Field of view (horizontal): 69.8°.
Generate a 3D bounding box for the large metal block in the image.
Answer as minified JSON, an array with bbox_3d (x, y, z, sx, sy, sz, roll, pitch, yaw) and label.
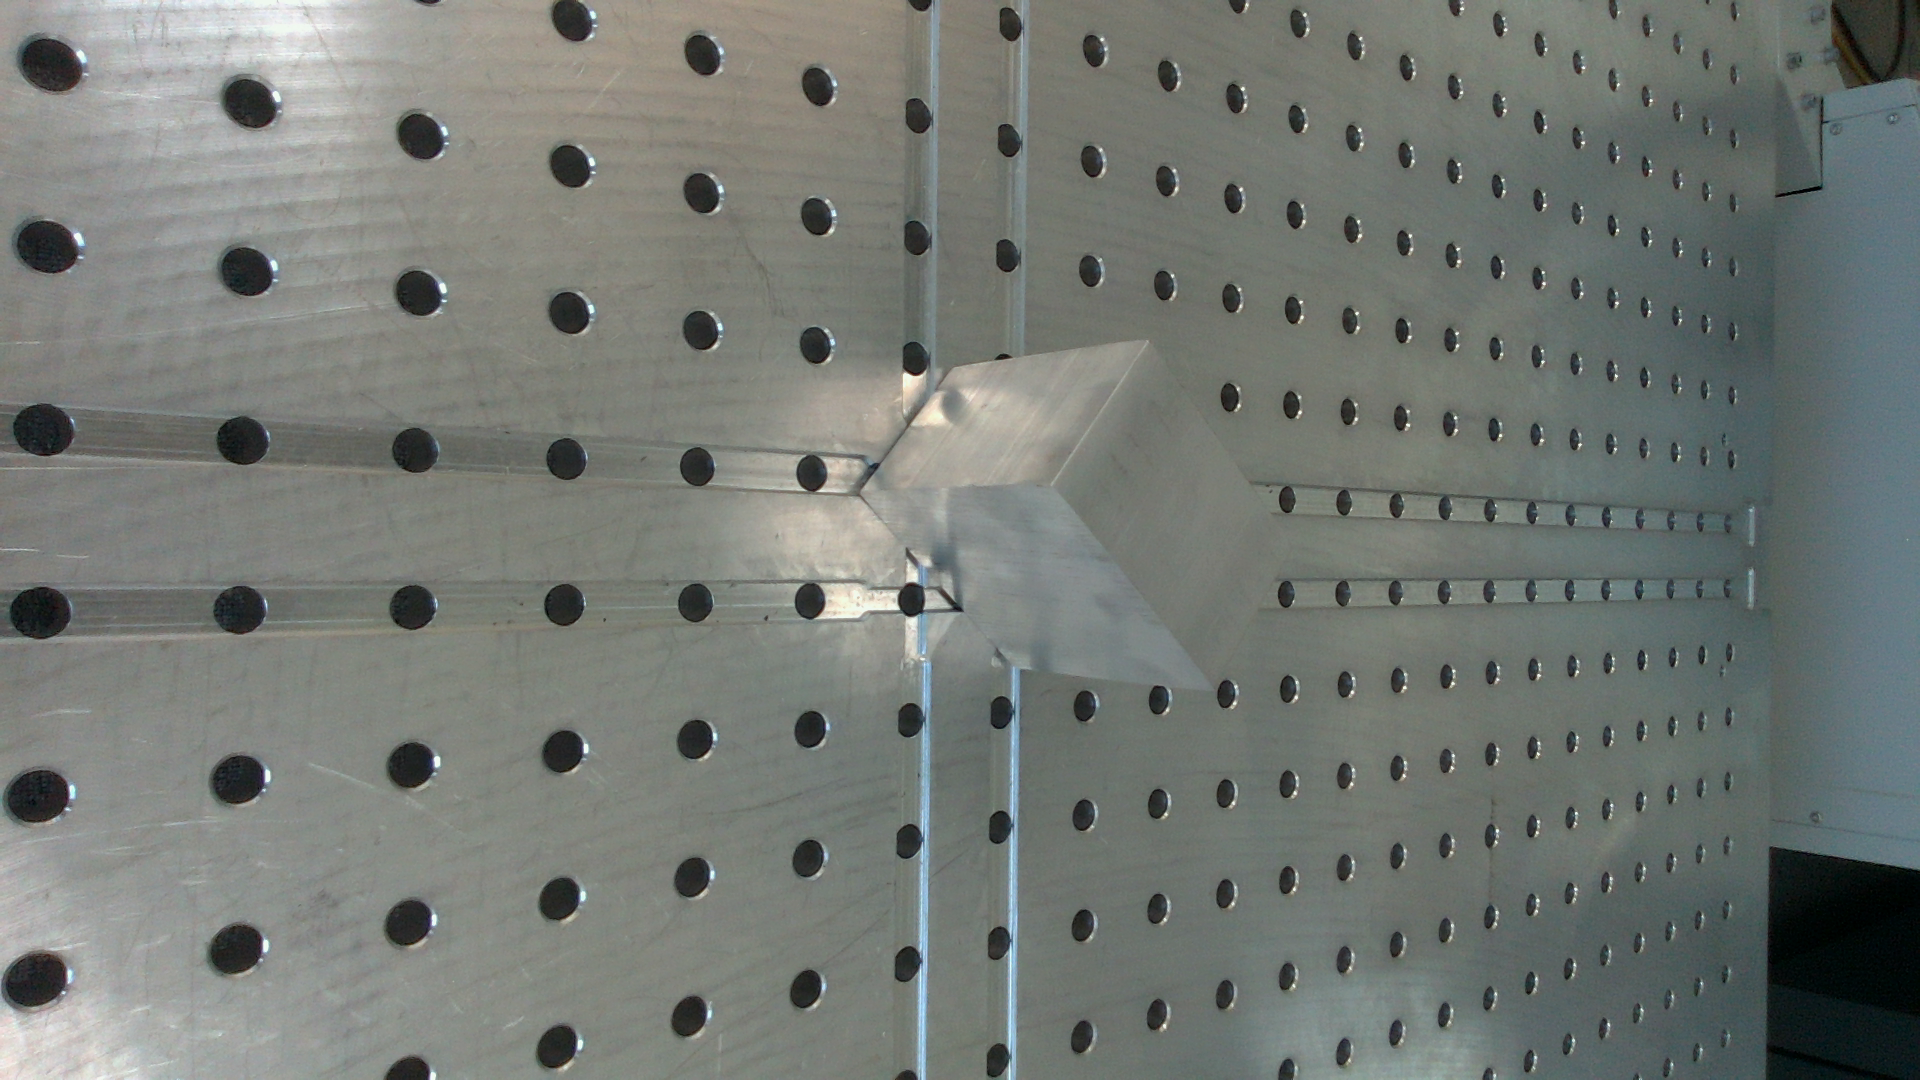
[{"bbox_3d":[0.032,-0.006,0.382,0.080,0.080,0.050,49,61,-29],"label":"large metal block"}]
